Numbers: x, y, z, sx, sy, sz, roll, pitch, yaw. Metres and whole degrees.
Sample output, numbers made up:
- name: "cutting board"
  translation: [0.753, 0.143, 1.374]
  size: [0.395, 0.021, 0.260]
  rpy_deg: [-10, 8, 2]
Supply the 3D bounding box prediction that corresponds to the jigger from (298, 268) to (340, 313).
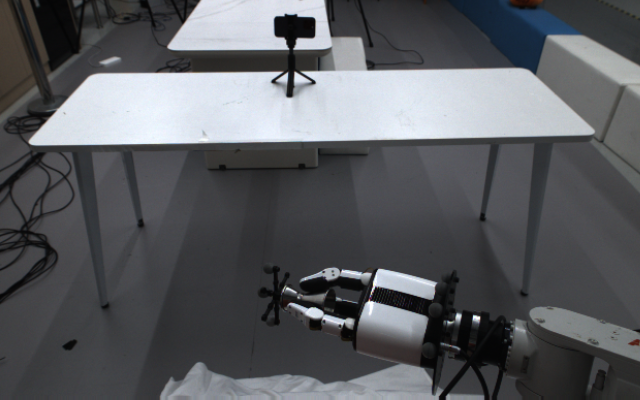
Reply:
- name: "jigger"
  translation: [-0.010, 0.139, 0.683]
  size: [0.071, 0.043, 0.043]
  rpy_deg: [4, 33, 23]
